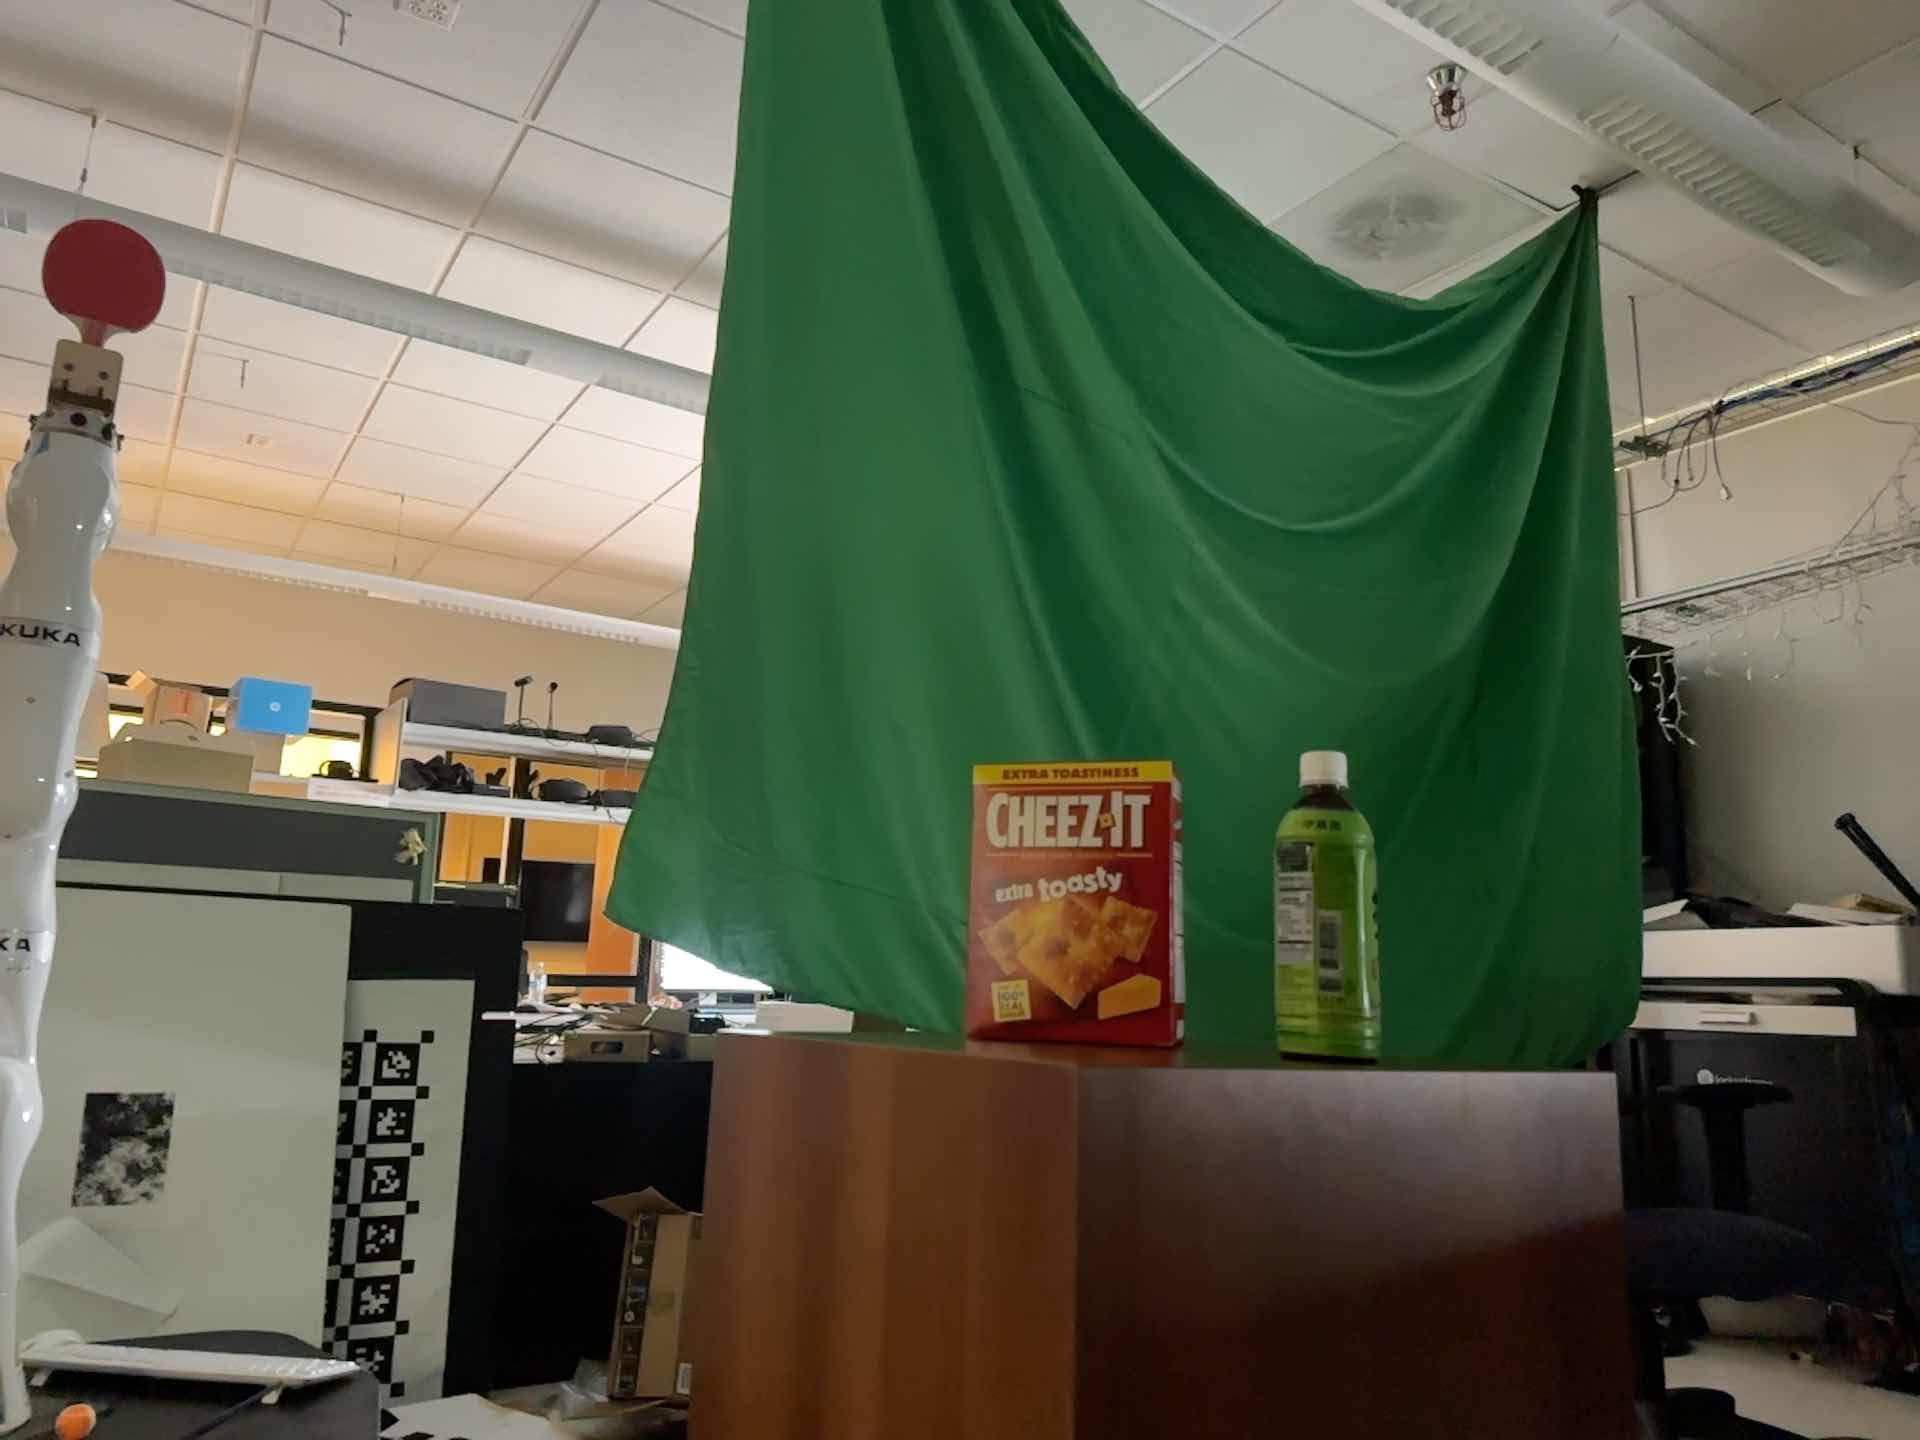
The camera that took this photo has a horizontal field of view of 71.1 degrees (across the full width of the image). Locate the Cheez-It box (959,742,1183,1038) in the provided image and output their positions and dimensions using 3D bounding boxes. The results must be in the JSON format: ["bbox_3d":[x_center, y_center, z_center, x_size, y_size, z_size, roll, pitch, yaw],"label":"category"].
[{"bbox_3d":[0.087,0.132,1.055,0.159,0.214,0.062,-1,-8,15],"label":"Cheez-It box"}]

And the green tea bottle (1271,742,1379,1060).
[{"bbox_3d":[0.249,0.121,0.920,0.073,0.212,0.073,2,-8,0],"label":"green tea bottle"}]
